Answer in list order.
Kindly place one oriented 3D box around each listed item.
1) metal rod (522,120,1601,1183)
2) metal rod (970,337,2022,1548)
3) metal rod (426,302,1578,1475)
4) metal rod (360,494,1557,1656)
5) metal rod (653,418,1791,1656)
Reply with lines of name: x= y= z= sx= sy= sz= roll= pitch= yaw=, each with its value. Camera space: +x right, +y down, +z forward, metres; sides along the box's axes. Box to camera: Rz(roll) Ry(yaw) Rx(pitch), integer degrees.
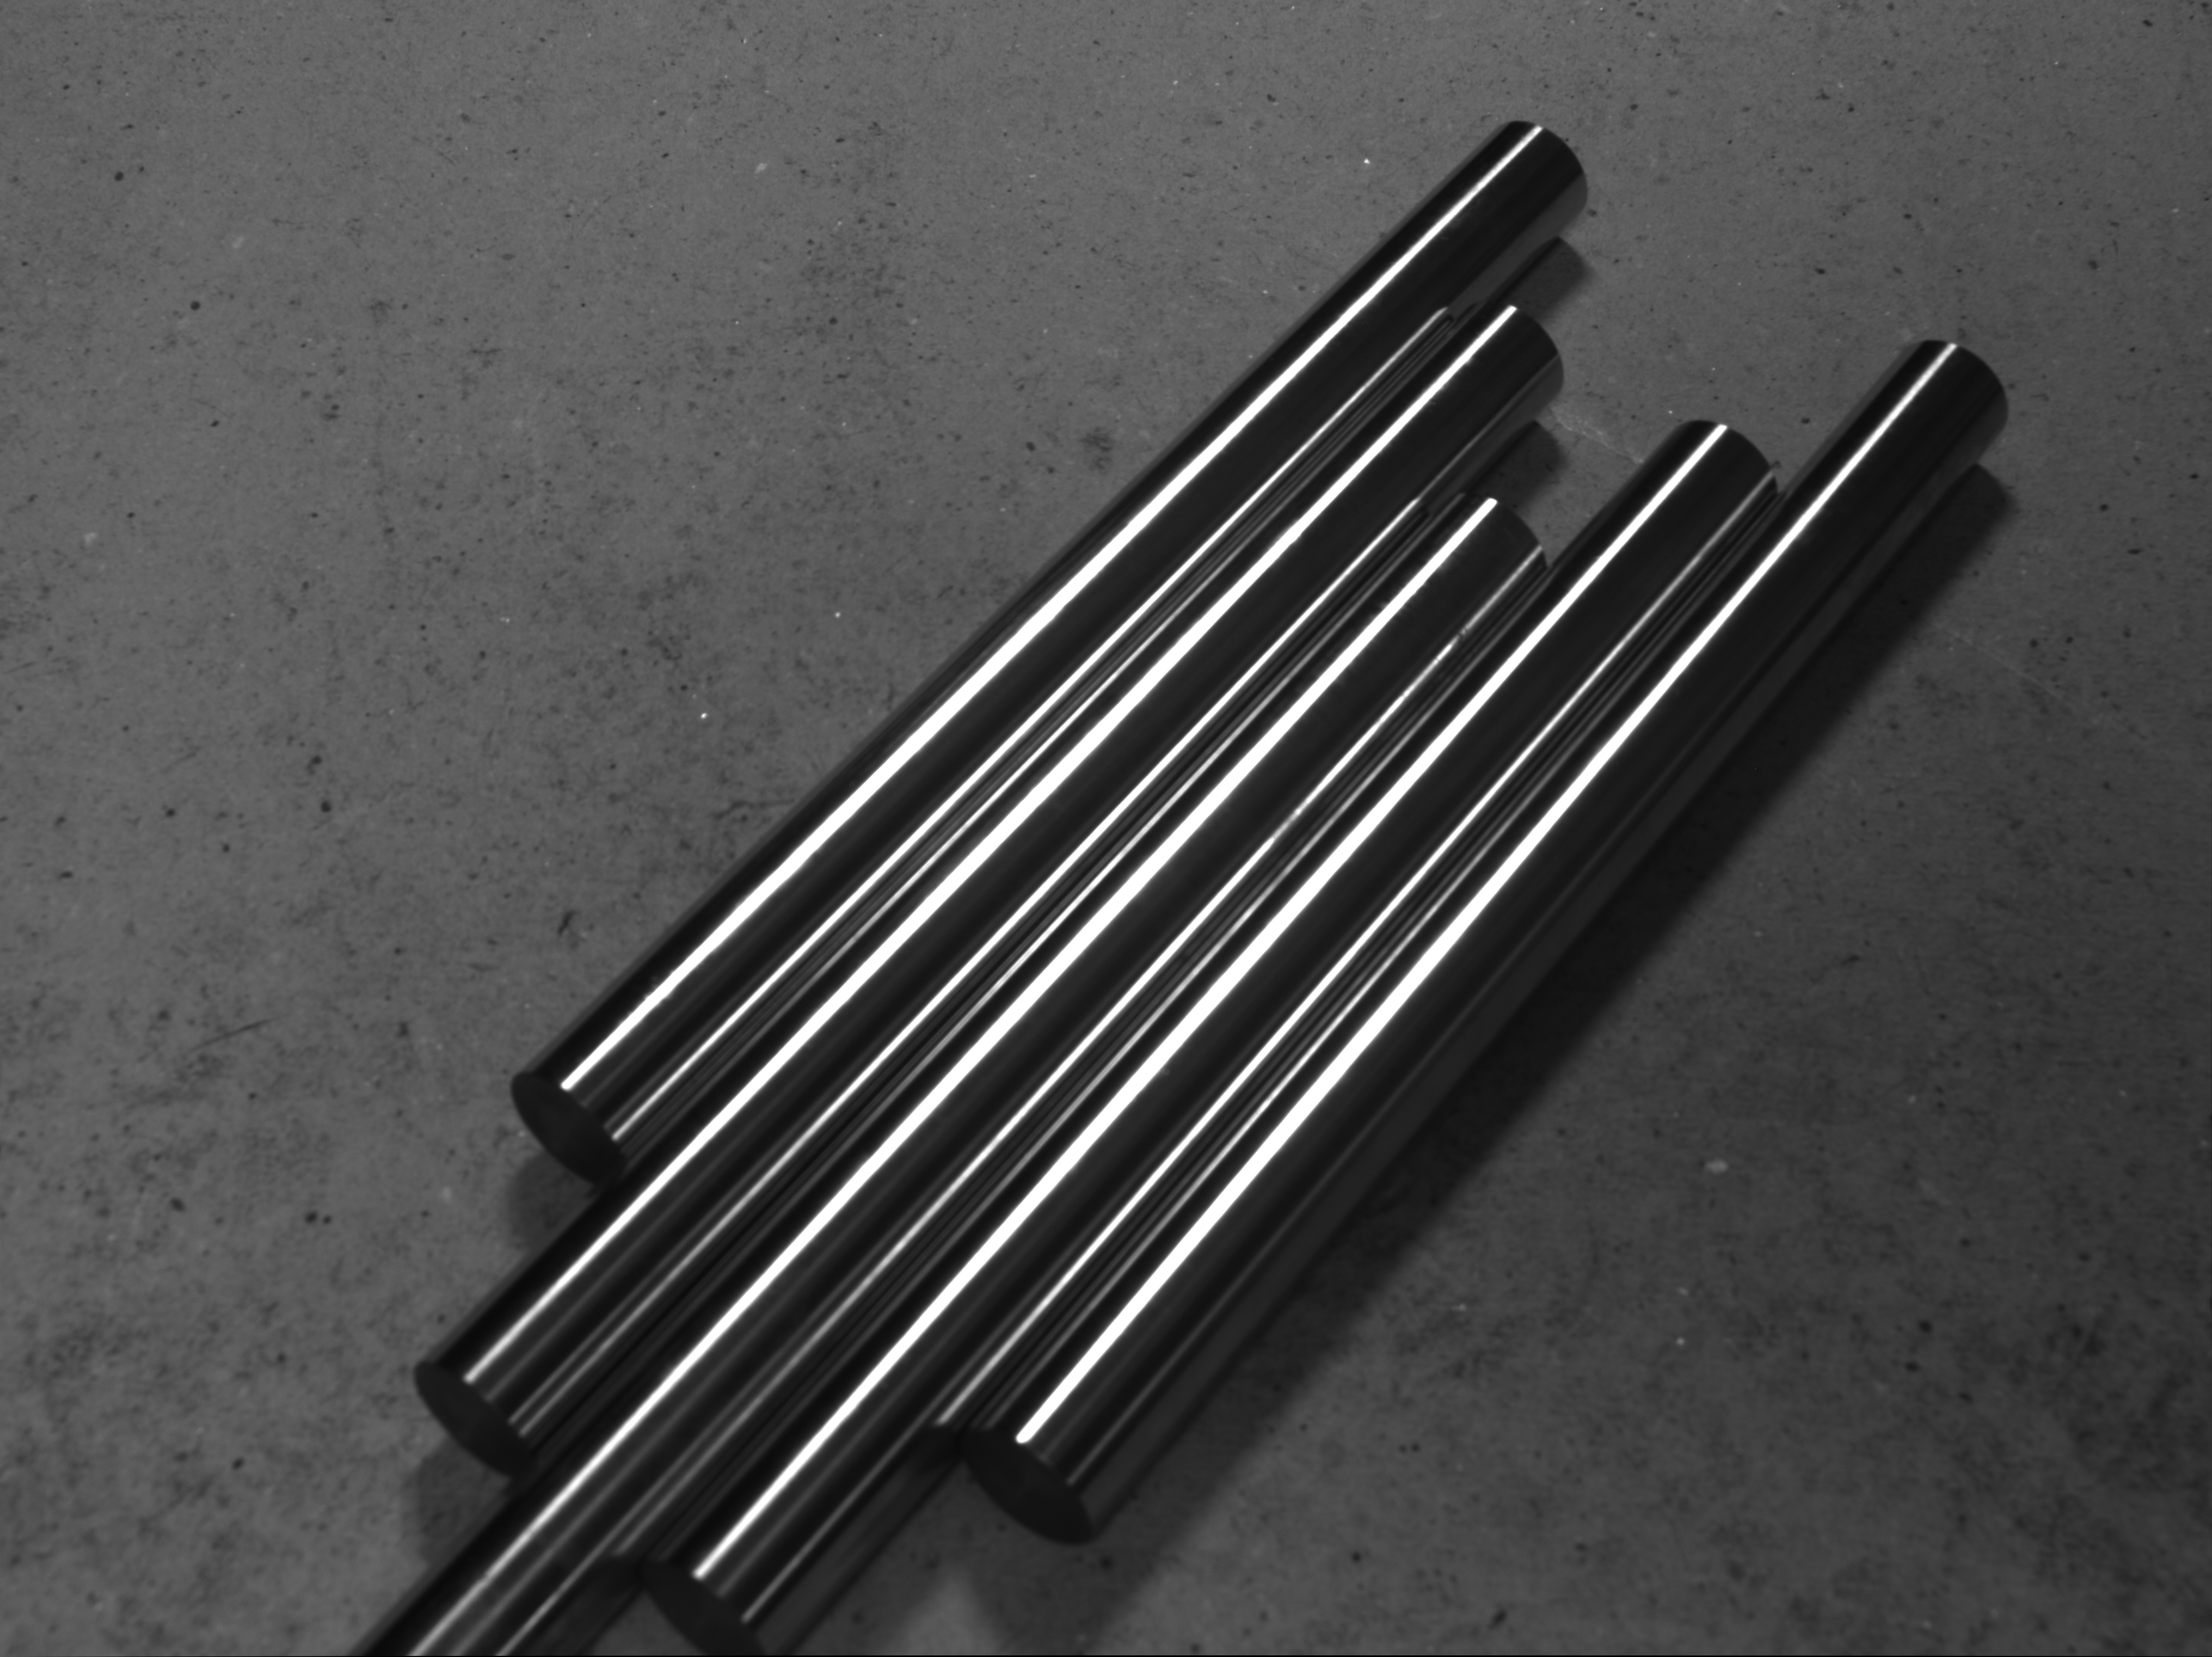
metal rod: x=0.003 y=-0.042 z=0.678 sx=0.025 sy=0.025 sz=0.300 roll=29 pitch=56 yaw=23
metal rod: x=0.078 y=0.008 z=0.635 sx=0.025 sy=0.025 sz=0.300 roll=29 pitch=56 yaw=23
metal rod: x=-0.007 y=-0.001 z=0.643 sx=0.025 sy=0.025 sz=0.300 roll=29 pitch=56 yaw=23
metal rod: x=-0.014 y=0.040 z=0.608 sx=0.025 sy=0.025 sz=0.300 roll=29 pitch=56 yaw=23
metal rod: x=0.031 y=0.025 z=0.621 sx=0.025 sy=0.025 sz=0.300 roll=29 pitch=56 yaw=23
